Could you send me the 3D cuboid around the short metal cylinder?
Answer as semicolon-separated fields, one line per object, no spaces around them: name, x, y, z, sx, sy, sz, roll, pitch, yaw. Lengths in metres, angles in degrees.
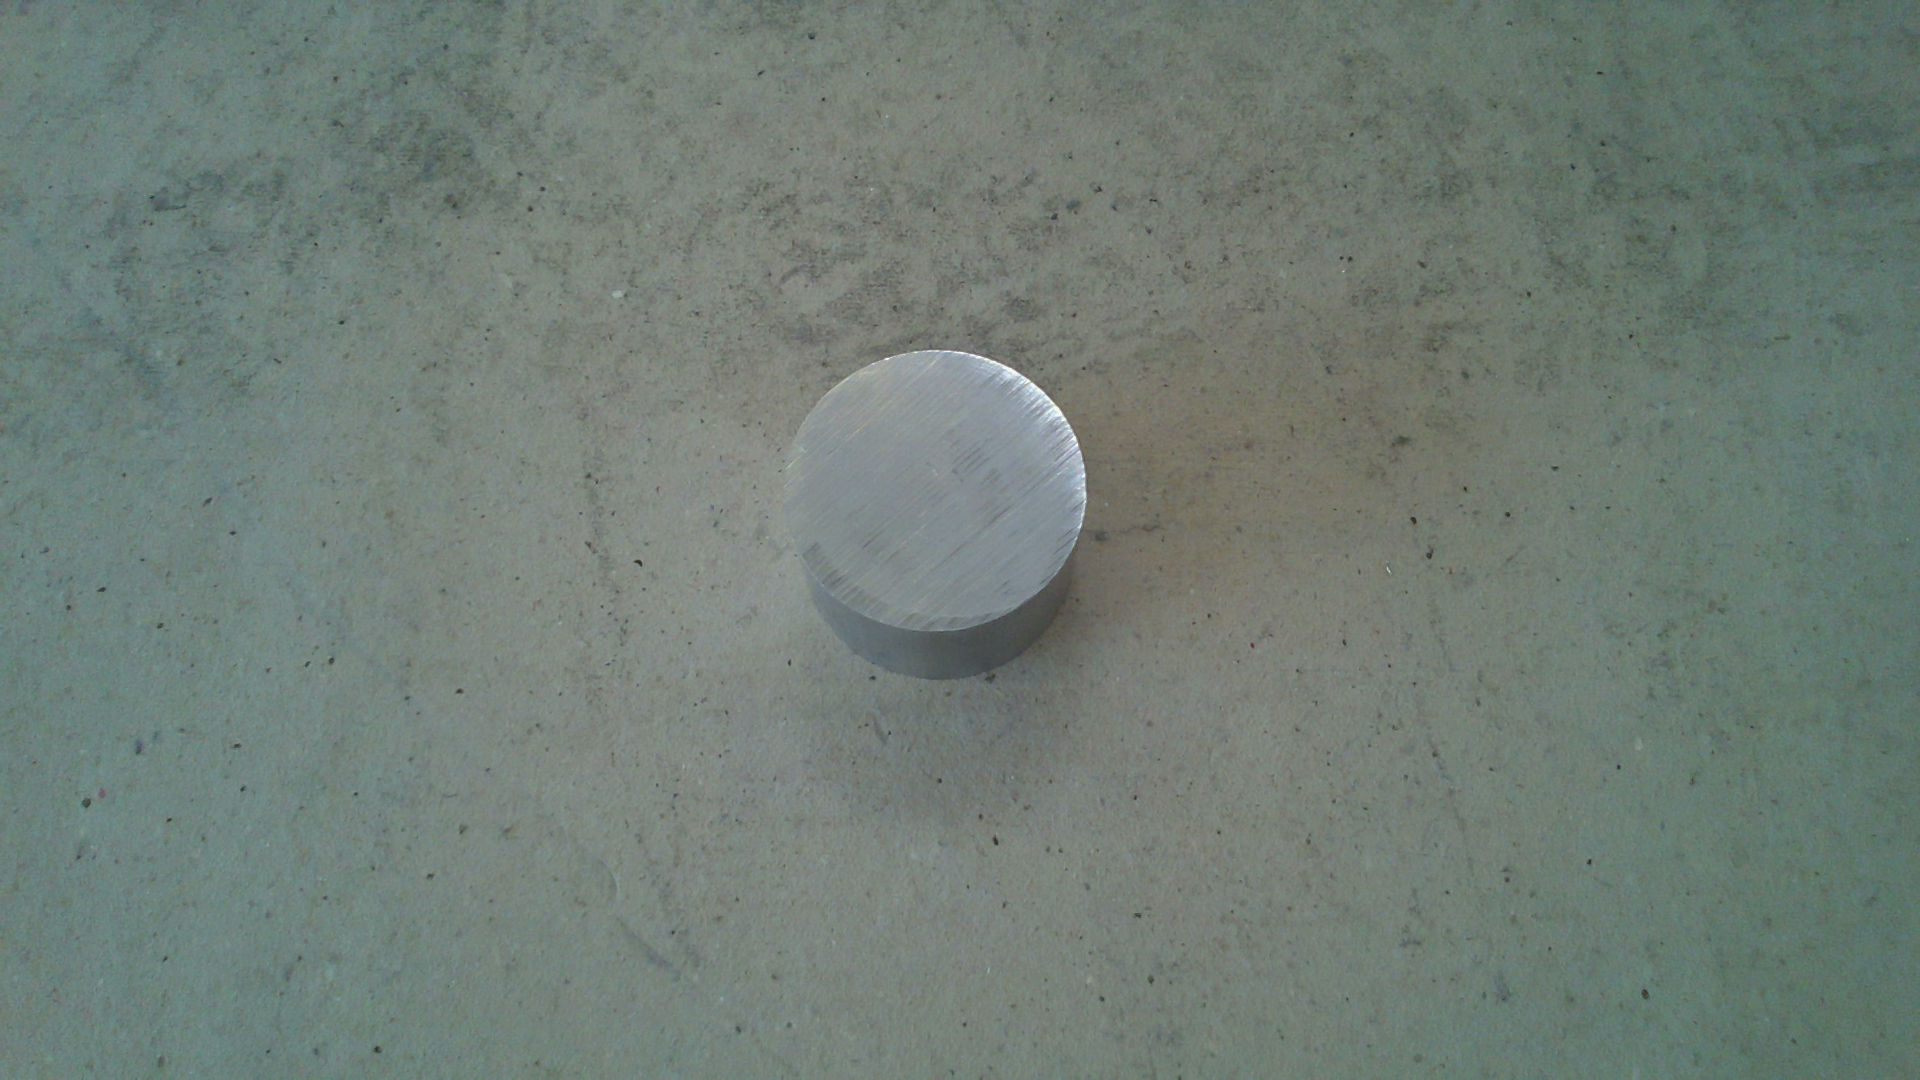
short metal cylinder;-0.007;-0.006;0.384;0.080;0.050;0.080;0;70;-1
